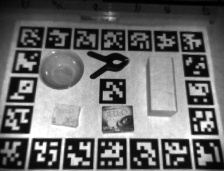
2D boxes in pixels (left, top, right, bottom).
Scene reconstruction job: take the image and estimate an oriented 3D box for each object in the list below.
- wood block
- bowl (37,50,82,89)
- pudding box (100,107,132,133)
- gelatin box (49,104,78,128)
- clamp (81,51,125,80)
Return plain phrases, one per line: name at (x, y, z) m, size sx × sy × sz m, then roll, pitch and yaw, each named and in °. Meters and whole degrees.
wood block at (0.176, 0.006, 0.790) m, size 0.090 × 0.091 × 0.206 m, roll 4°, pitch 71°, yaw -2°
bowl at (-0.193, -0.055, 0.819) m, size 0.162 × 0.055 × 0.161 m, roll 1°, pitch 74°, yaw -3°
pudding box at (0.015, 0.122, 0.771) m, size 0.114 × 0.039 × 0.090 m, roll 0°, pitch 75°, yaw 0°
gelatin box at (-0.171, 0.108, 0.769) m, size 0.089 × 0.030 × 0.073 m, roll 9°, pitch 73°, yaw 0°
clamp at (-0.031, -0.089, 0.850) m, size 0.166 × 0.036 × 0.121 m, roll -9°, pitch 71°, yaw -8°
